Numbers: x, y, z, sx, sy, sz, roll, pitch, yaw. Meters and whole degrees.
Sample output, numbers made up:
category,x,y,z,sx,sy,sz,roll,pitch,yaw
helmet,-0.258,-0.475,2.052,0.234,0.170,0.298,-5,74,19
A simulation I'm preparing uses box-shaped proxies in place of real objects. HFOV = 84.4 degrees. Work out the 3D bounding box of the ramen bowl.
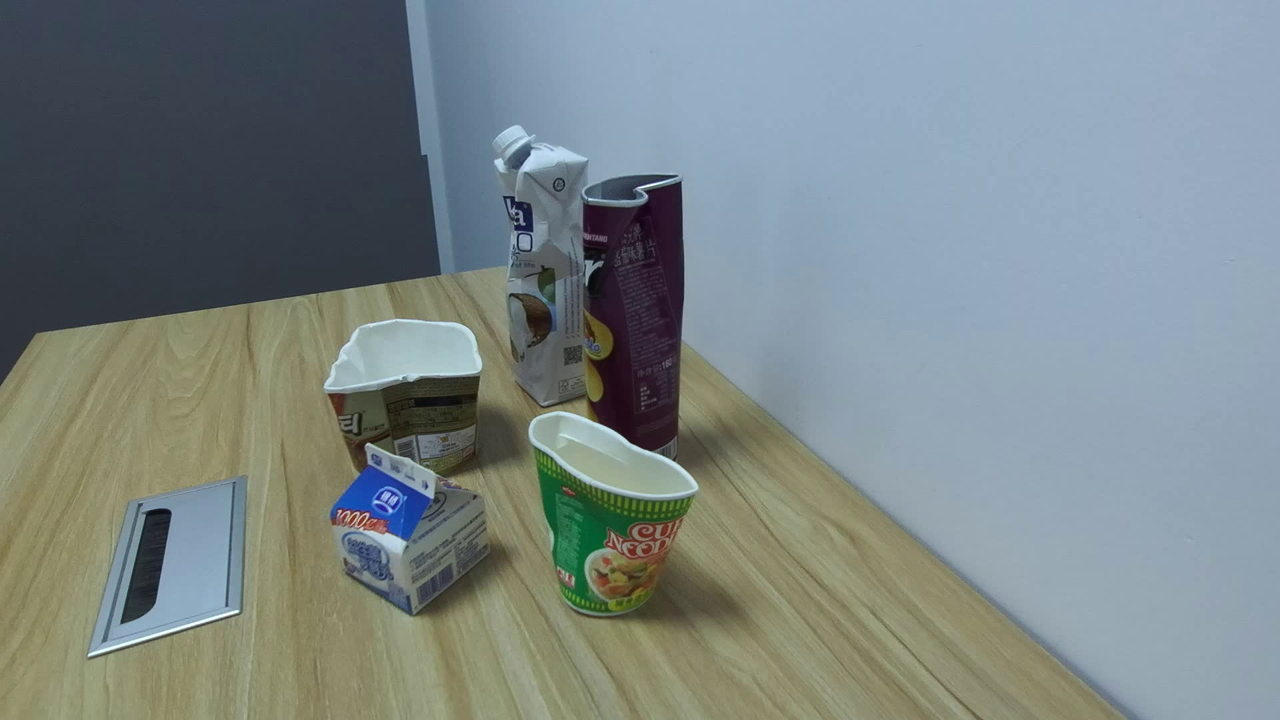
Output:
category,x,y,z,sx,sy,sz,roll,pitch,yaw
ramen bowl,-0.198,0.028,0.605,0.114,0.097,0.133,-12,31,-18

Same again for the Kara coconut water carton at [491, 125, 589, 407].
category,x,y,z,sx,sy,sz,roll,pitch,yaw
Kara coconut water carton,-0.086,-0.086,0.652,0.078,0.256,0.083,-11,30,-18

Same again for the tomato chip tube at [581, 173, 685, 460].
category,x,y,z,sx,sy,sz,roll,pitch,yaw
tomato chip tube,-0.004,-0.017,0.544,0.078,0.235,0.076,-1,28,-3

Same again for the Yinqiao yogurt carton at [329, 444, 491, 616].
category,x,y,z,sx,sy,sz,roll,pitch,yaw
Yinqiao yogurt carton,-0.154,0.102,0.472,0.075,0.092,0.074,17,31,29

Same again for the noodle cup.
category,x,y,z,sx,sy,sz,roll,pitch,yaw
noodle cup,-0.022,0.099,0.452,0.070,0.111,0.114,-15,31,-24
